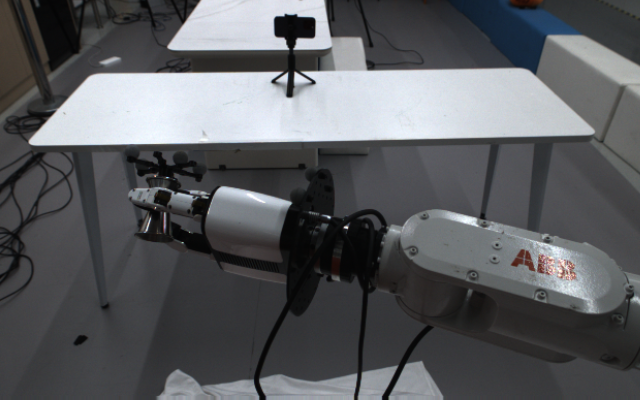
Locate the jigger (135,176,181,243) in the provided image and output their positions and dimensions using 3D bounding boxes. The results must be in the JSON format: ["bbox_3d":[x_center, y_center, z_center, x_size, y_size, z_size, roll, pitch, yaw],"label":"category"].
[{"bbox_3d":[-0.185,0.011,0.556,0.043,0.043,0.071,3,72,1],"label":"jigger"}]
